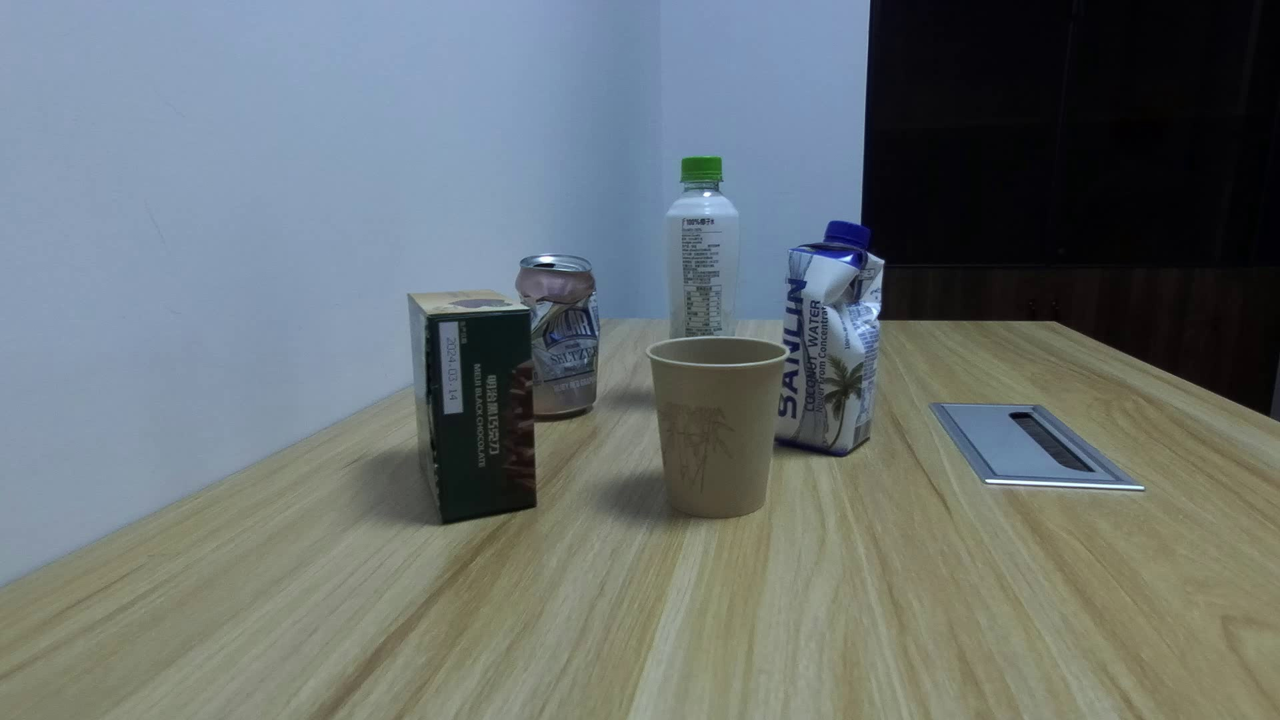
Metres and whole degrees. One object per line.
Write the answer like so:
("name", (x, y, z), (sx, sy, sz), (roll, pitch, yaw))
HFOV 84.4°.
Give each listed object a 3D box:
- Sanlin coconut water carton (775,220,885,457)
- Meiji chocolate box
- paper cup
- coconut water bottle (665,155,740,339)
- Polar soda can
("Sanlin coconut water carton", (0.123, -0.016, 0.456), (0.060, 0.143, 0.070), (10, 15, 36))
("Meiji chocolate box", (-0.099, 0.020, 0.405), (0.056, 0.109, 0.109), (-5, 12, -22))
("paper cup", (0.040, 0.035, 0.374), (0.075, 0.082, 0.075), (-1, 13, 0))
("coconut water bottle", (0.047, -0.057, 0.543), (0.063, 0.188, 0.063), (0, 10, 0))
("Polar soda can", (-0.065, -0.017, 0.545), (0.066, 0.121, 0.071), (4, 13, 0))
